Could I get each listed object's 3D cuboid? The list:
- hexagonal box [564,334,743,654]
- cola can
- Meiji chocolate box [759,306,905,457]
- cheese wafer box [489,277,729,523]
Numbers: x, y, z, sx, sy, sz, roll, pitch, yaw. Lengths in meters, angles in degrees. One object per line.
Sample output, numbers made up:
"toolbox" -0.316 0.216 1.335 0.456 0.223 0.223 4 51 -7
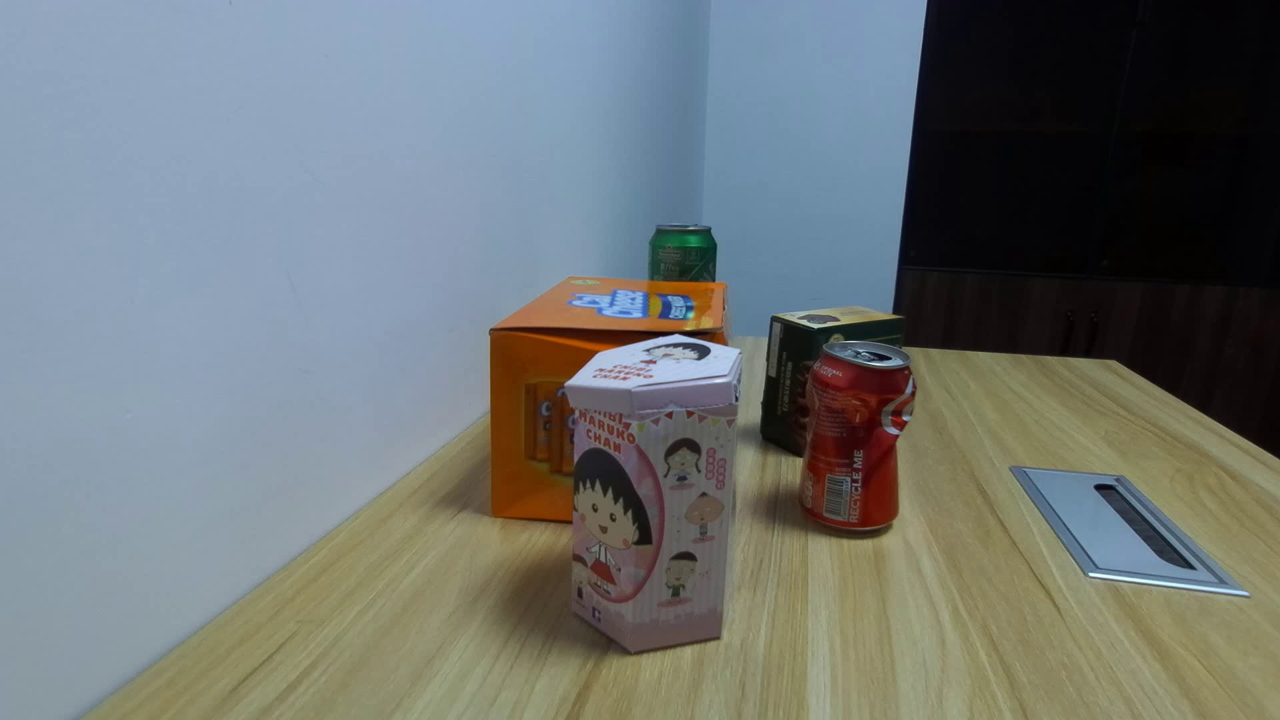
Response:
"hexagonal box" 0.011 0.063 0.357 0.085 0.135 0.091 -13 21 -42
"cola can" 0.139 0.048 0.456 0.066 0.117 0.066 1 16 -3
"Meiji chocolate box" 0.163 0.015 0.597 0.110 0.109 0.056 -7 18 -31
"cheese wafer box" -0.009 0.017 0.533 0.149 0.137 0.227 5 15 6
